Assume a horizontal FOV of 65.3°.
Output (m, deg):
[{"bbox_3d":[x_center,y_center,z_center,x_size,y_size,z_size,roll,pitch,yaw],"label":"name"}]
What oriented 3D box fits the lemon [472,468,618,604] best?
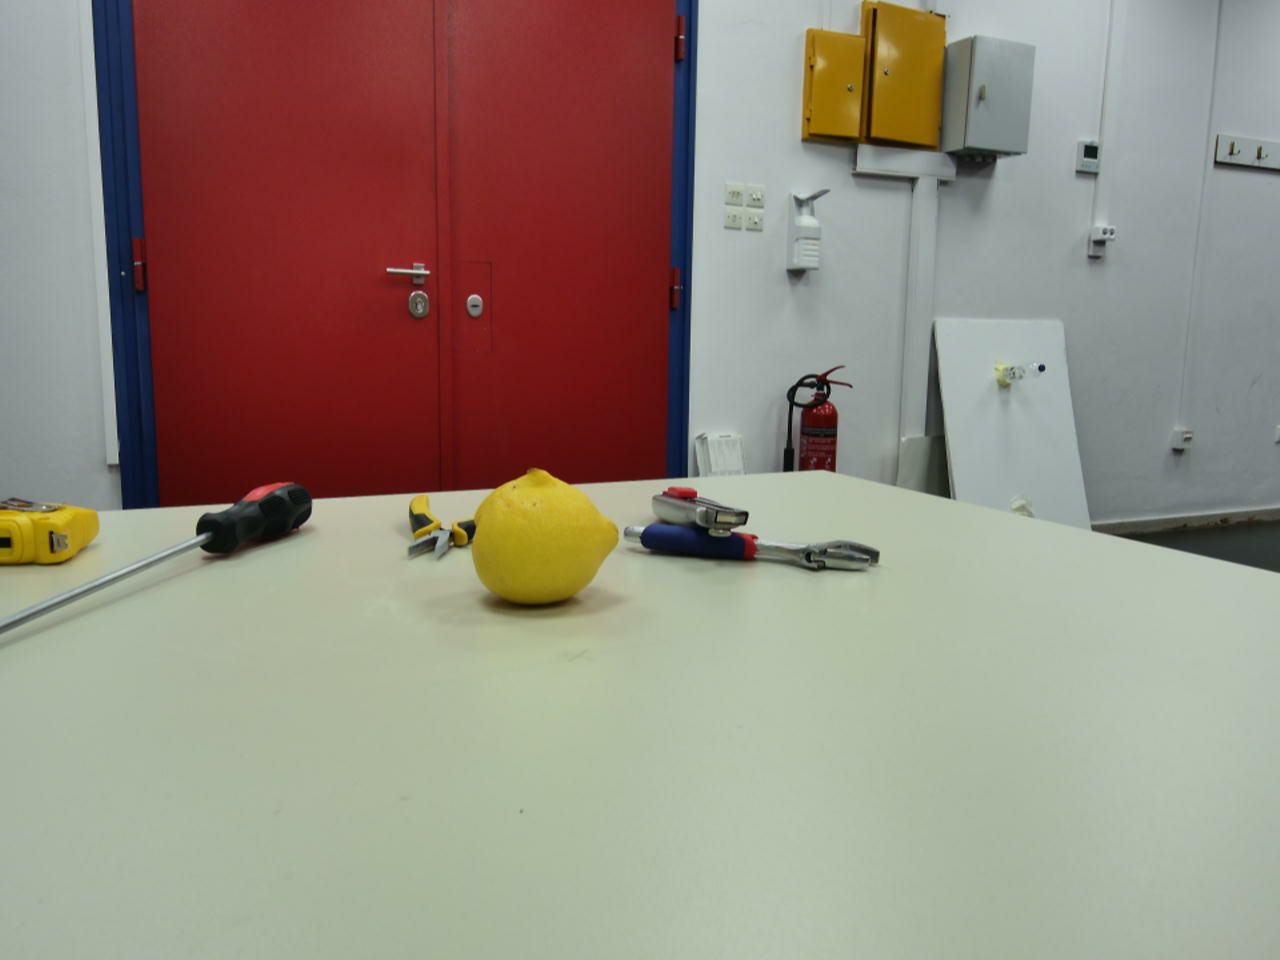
[{"bbox_3d":[-0.054,0.029,0.527,0.071,0.071,0.070,4,8,31],"label":"lemon"}]
